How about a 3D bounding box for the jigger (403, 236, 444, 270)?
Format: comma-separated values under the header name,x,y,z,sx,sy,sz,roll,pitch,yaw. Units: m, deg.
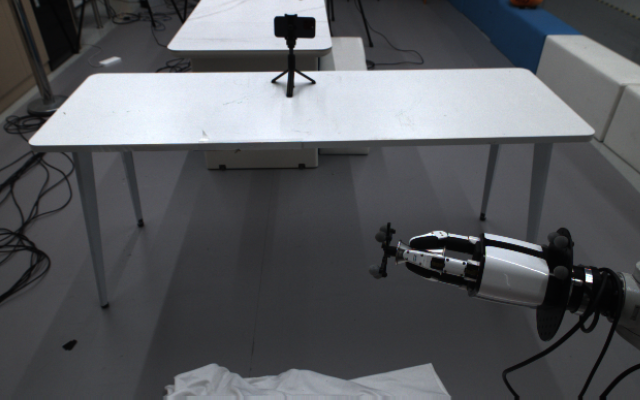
name,x,y,z,sx,sy,sz,roll,pitch,yaw
jigger,0.156,0.079,0.718,0.071,0.043,0.043,8,35,16
